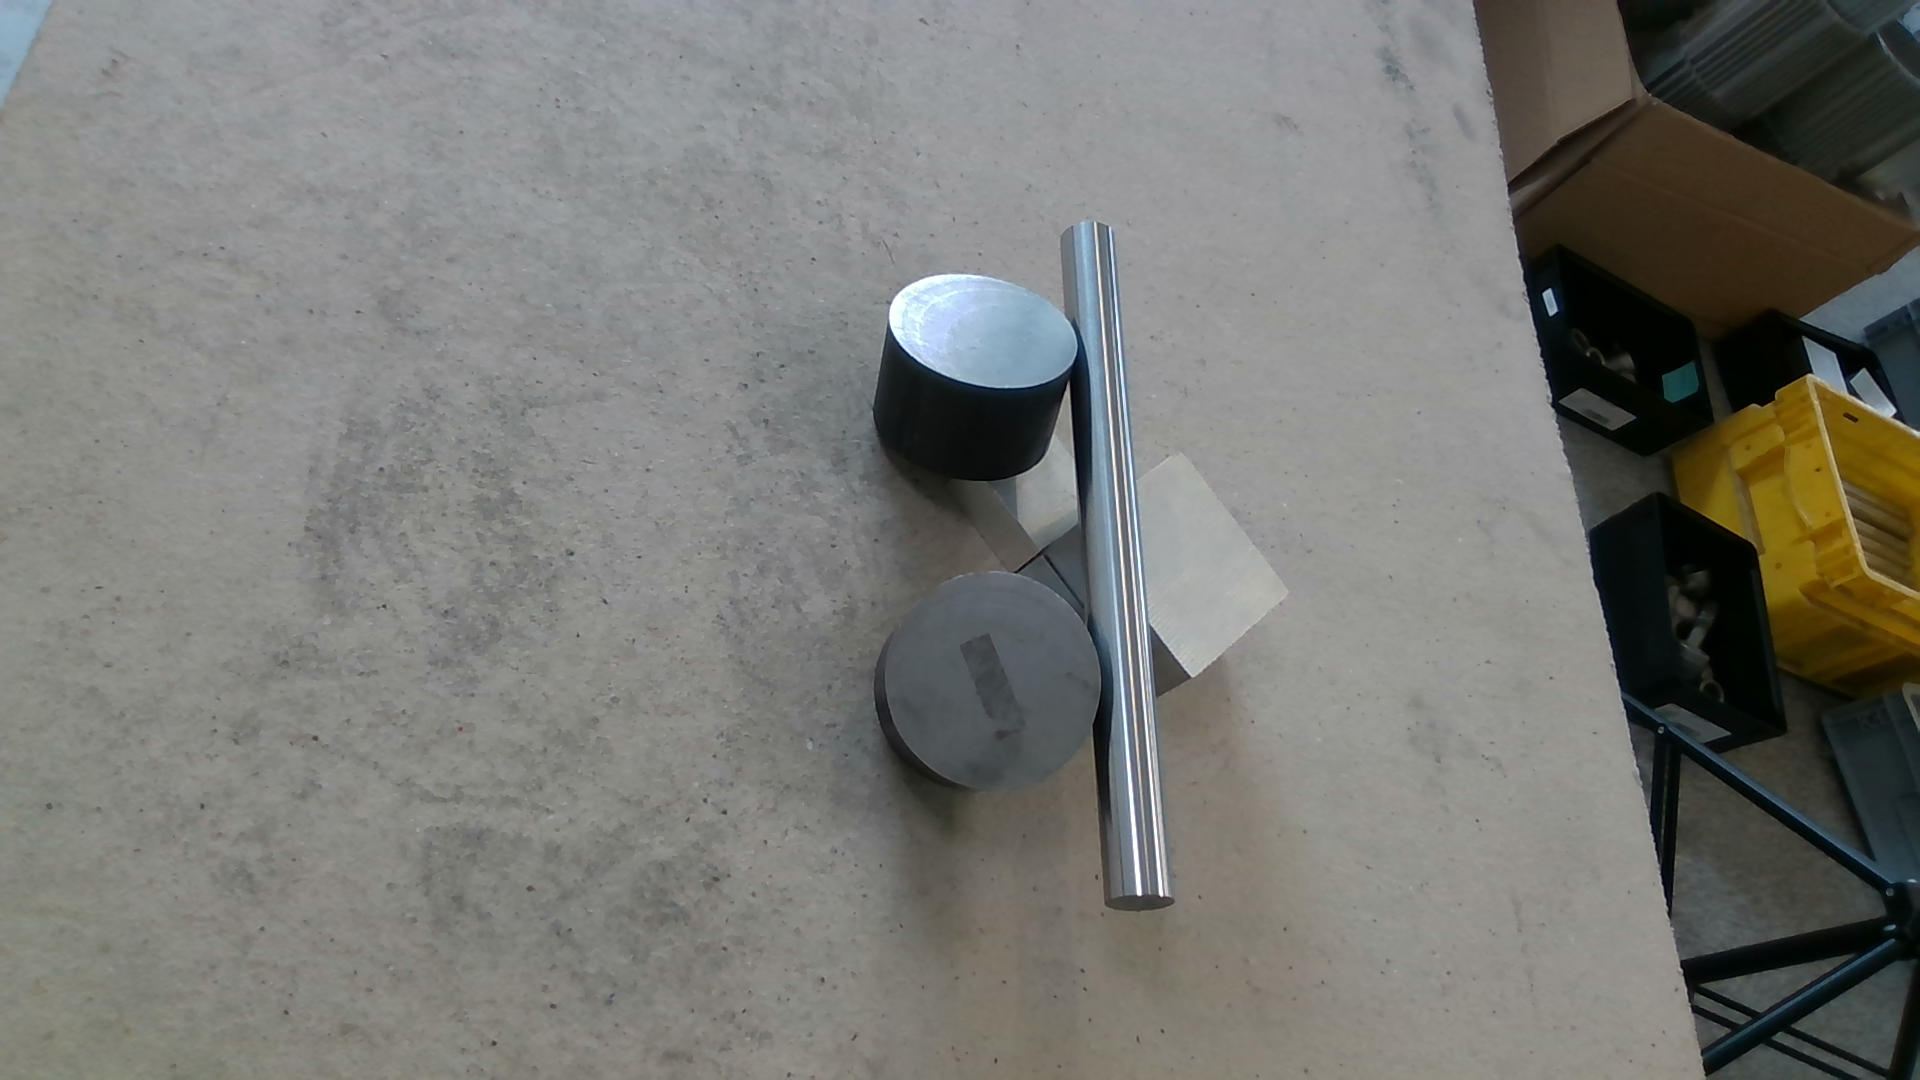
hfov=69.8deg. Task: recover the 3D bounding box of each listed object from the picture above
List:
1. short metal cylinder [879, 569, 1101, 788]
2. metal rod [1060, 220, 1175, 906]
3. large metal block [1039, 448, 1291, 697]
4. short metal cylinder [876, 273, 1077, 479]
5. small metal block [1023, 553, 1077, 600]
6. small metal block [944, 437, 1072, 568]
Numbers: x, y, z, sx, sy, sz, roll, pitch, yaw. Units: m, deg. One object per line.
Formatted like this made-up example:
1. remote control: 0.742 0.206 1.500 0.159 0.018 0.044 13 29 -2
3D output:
1. short metal cylinder: 0.009 0.055 0.529 0.080 0.050 0.080 2 79 -9
2. metal rod: 0.061 -0.005 0.560 0.025 0.025 0.299 13 59 -26
3. large metal block: 0.086 0.018 0.611 0.080 0.050 0.080 -33 85 -39
4. short metal cylinder: 0.005 -0.072 0.593 0.080 0.050 0.080 8 43 -7
5. small metal block: 0.028 0.042 0.581 0.050 0.025 0.050 -35 86 -39
6. small metal block: 0.030 -0.021 0.616 0.050 0.025 0.050 -35 87 -39
